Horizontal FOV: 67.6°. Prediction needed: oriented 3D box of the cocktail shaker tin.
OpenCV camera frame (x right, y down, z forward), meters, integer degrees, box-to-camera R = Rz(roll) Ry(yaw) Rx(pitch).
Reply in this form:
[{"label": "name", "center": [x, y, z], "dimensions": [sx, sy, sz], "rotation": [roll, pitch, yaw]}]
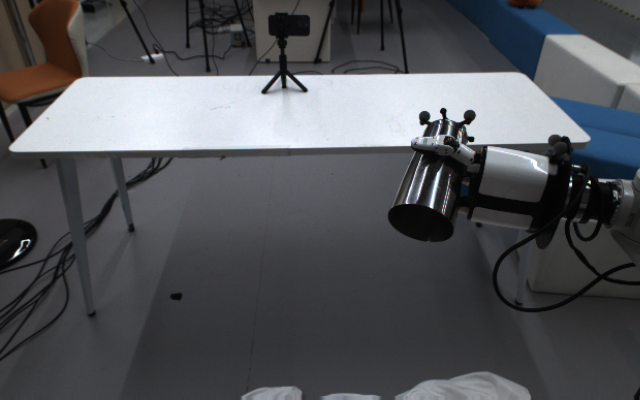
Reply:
[{"label": "cocktail shaker tin", "center": [0.165, -0.037, 0.701], "dimensions": [0.093, 0.093, 0.170], "rotation": [14, 57, 16]}]
